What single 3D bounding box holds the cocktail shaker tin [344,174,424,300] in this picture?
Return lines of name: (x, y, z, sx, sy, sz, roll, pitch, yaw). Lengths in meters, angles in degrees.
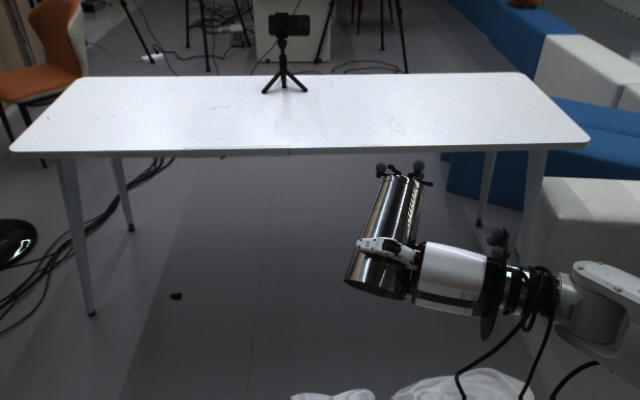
cocktail shaker tin: (0.101, 0.053, 0.718, 0.093, 0.093, 0.170, 14, 73, 17)
